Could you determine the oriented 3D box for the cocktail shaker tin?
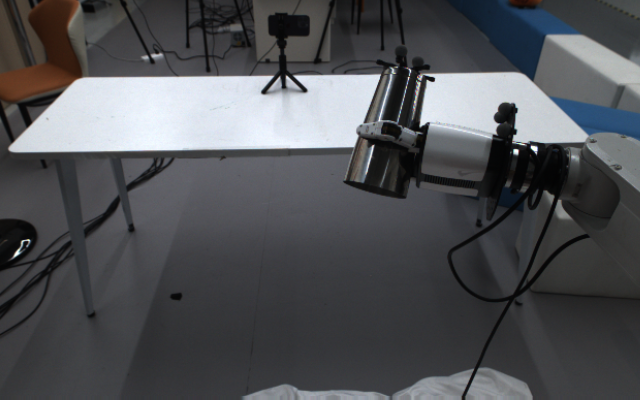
[{"bbox_3d":[0.099,-0.097,0.687,0.093,0.170,0.093,16,-4,1],"label":"cocktail shaker tin"}]
